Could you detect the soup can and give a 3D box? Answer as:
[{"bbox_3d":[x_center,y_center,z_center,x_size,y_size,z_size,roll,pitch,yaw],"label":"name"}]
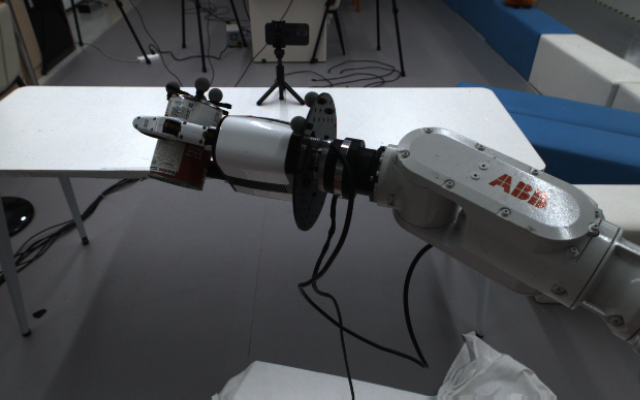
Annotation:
[{"bbox_3d":[-0.162,-0.068,0.590,0.067,0.101,0.067,13,-6,1],"label":"soup can"}]
